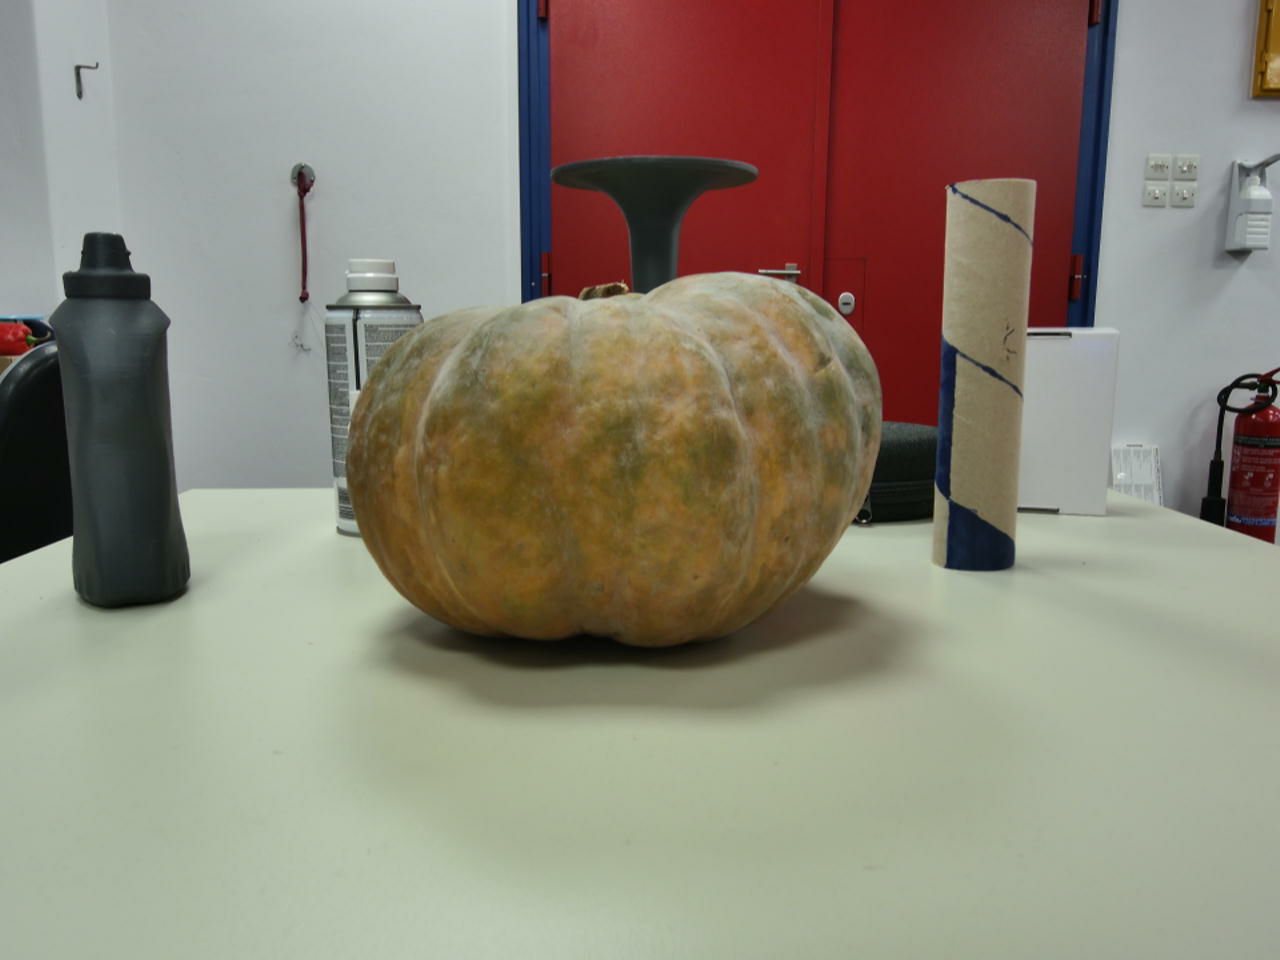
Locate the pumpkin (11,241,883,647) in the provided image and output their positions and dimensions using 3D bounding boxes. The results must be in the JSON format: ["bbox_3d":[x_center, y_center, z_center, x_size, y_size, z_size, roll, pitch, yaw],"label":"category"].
[{"bbox_3d":[-0.017,-0.014,0.483,0.252,0.168,0.252,0,7,0],"label":"pumpkin"}]
